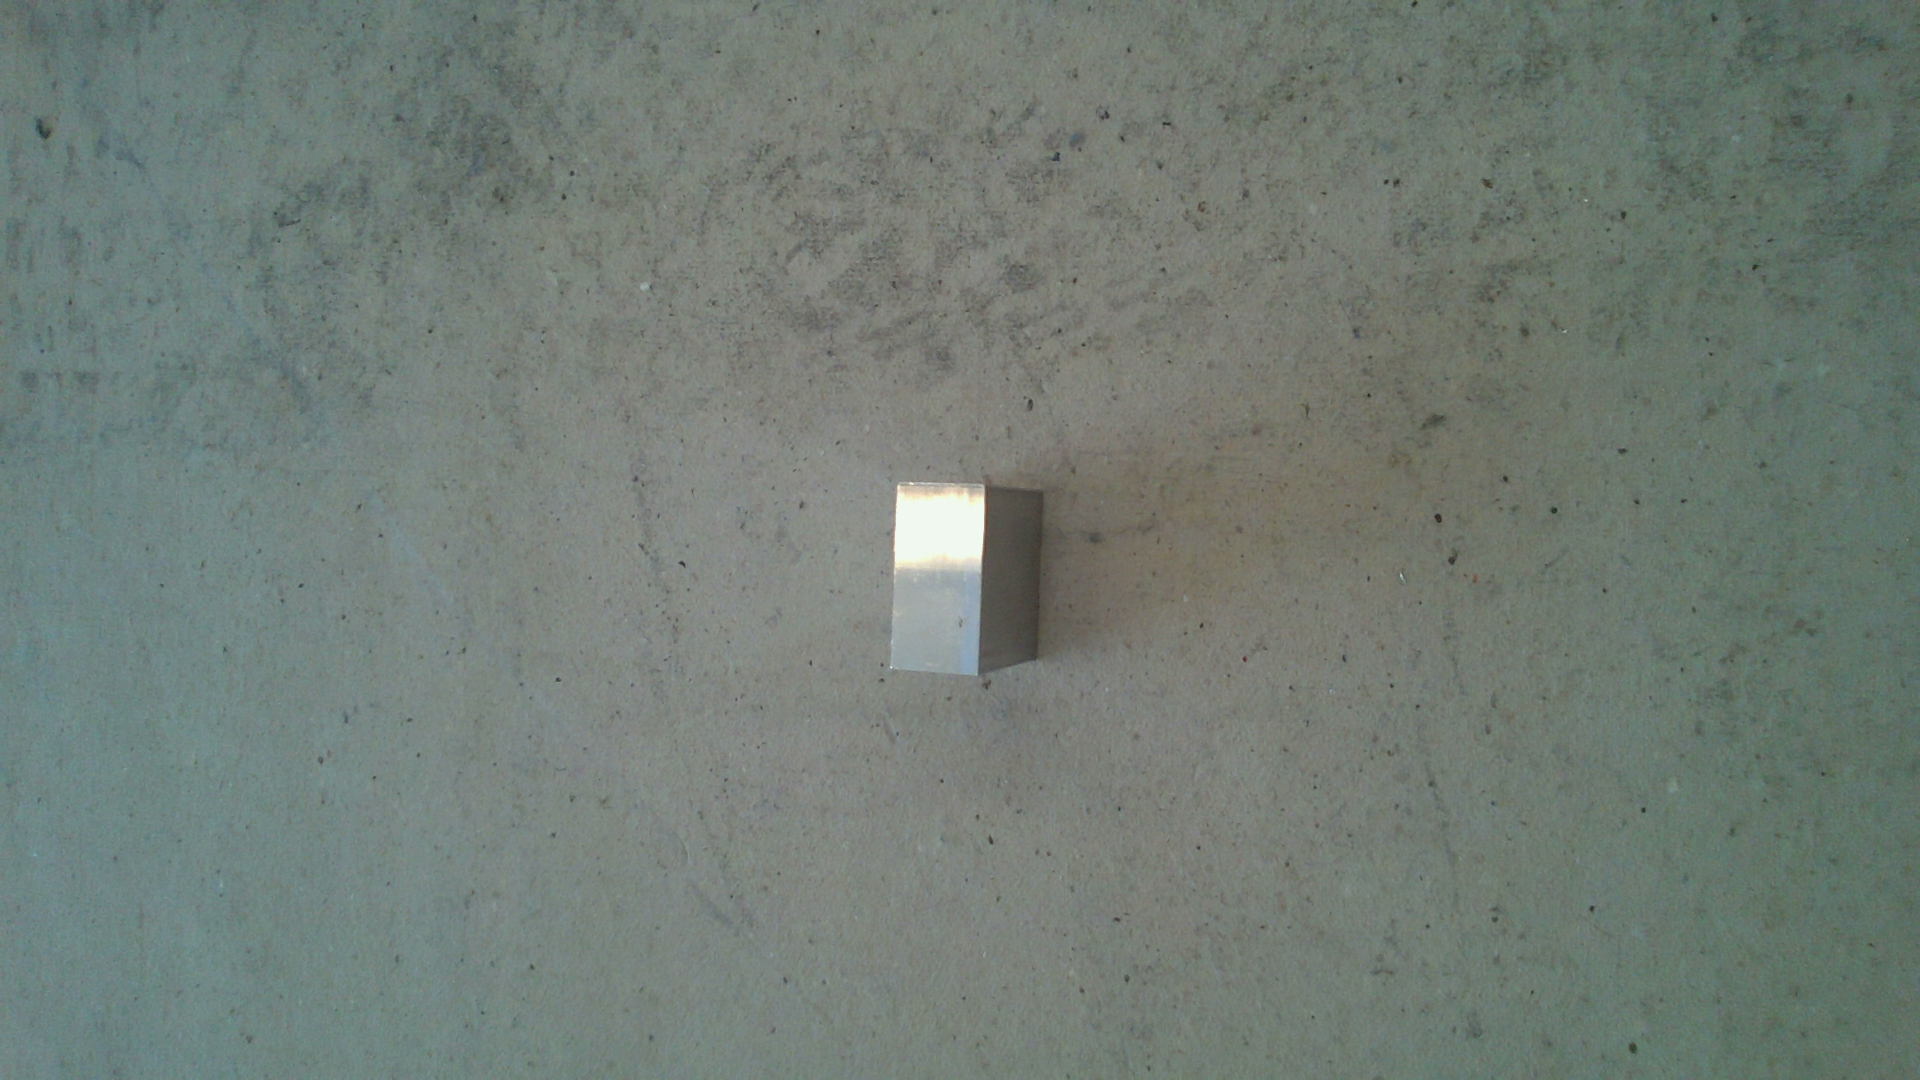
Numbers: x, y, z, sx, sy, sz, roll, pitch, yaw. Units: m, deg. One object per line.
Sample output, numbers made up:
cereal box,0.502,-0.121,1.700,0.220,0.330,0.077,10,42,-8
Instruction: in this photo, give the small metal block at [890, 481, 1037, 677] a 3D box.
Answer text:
small metal block,0.002,0.010,0.382,0.025,0.050,0.050,2,91,19
